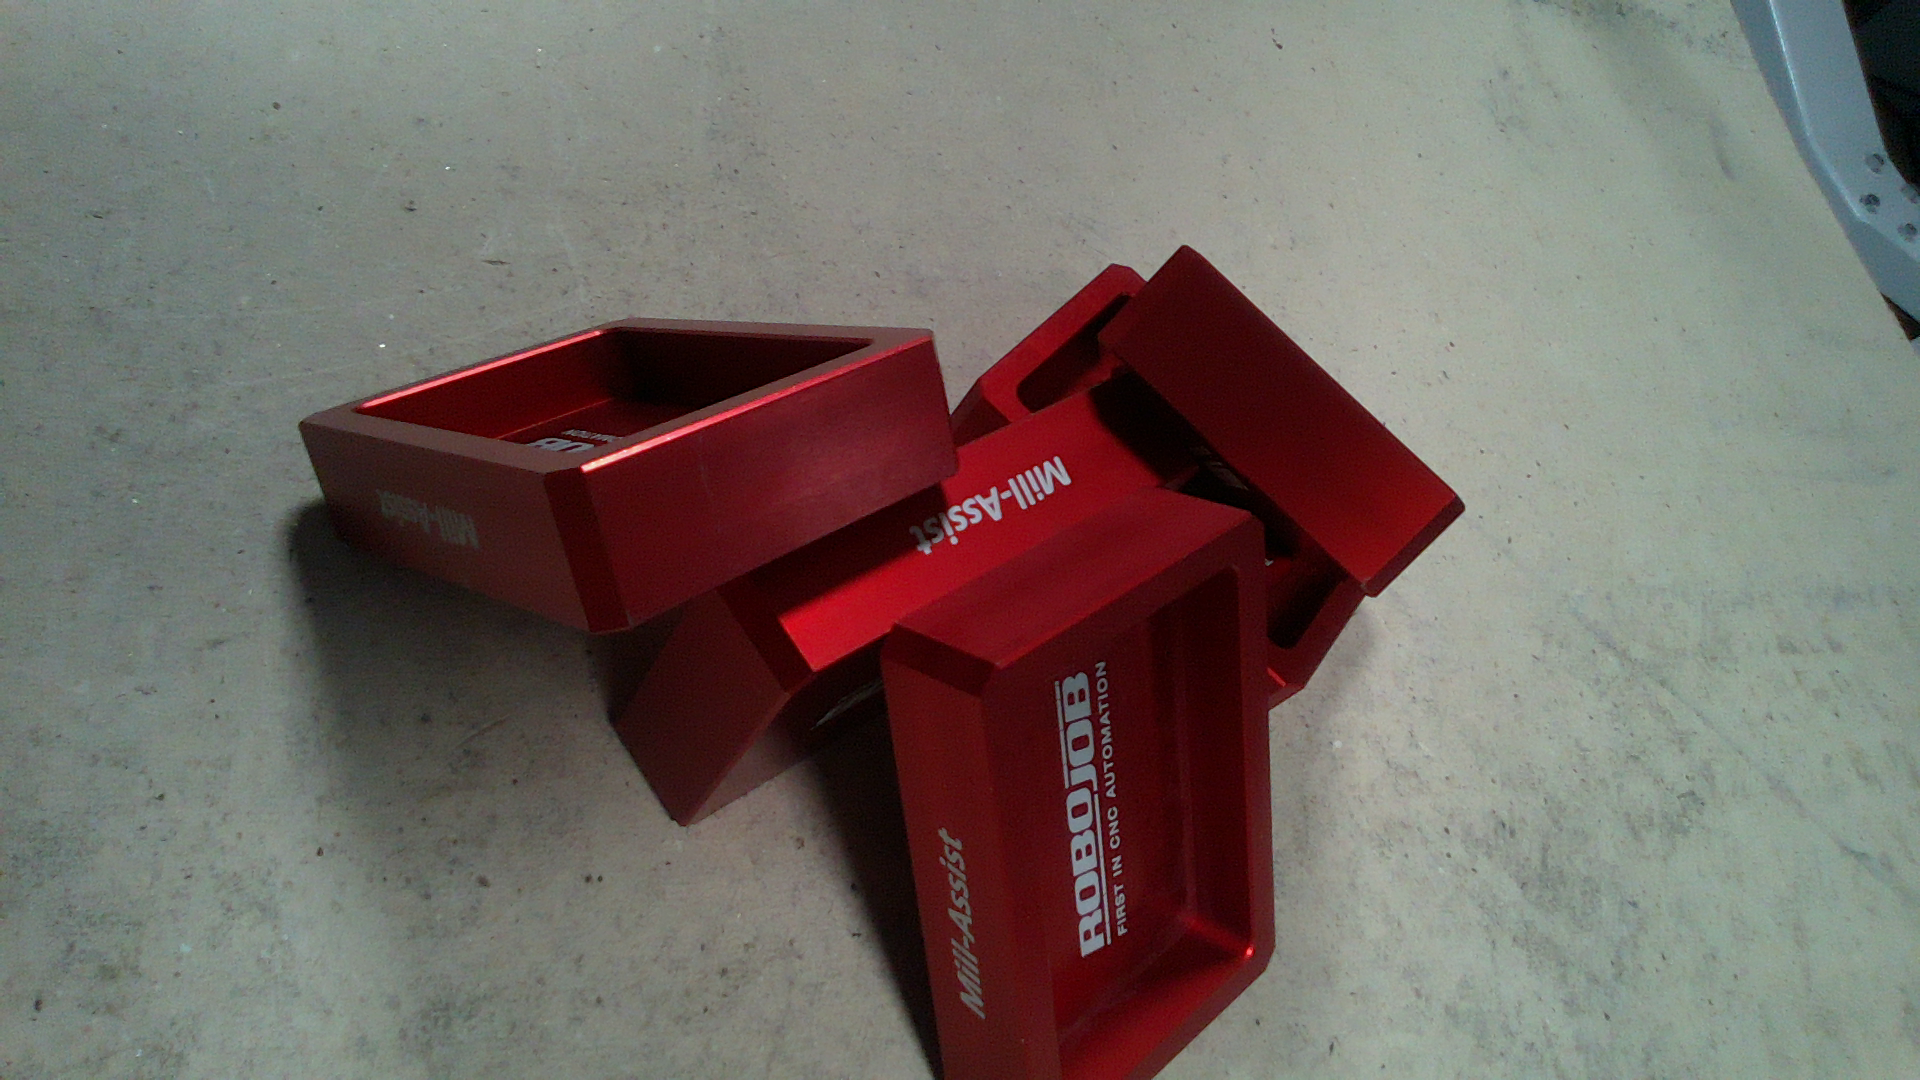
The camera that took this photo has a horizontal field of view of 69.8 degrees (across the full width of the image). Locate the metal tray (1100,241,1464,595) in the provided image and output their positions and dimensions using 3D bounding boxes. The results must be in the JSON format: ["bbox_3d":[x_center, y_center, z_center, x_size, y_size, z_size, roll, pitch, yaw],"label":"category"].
[{"bbox_3d":[0.081,-0.032,0.381,0.090,0.030,0.130,44,7,2],"label":"metal tray"}]

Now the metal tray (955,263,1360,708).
[{"bbox_3d":[0.068,-0.017,0.434,0.130,0.030,0.090,44,51,2],"label":"metal tray"}]

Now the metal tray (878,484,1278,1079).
[{"bbox_3d":[0.033,0.064,0.312,0.090,0.030,0.130,-27,121,-37],"label":"metal tray"}]

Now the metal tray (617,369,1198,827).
[{"bbox_3d":[-0.011,0.013,0.334,0.130,0.090,0.030,-28,77,-37],"label":"metal tray"}]

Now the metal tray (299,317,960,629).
[{"bbox_3d":[-0.075,-0.022,0.302,0.090,0.129,0.030,-27,115,-37],"label":"metal tray"}]
